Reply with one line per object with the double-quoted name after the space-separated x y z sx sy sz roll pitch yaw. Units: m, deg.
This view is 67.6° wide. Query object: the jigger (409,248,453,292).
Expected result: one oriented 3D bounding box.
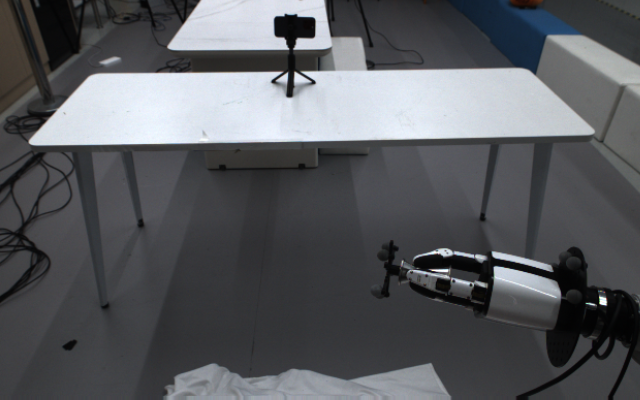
0.155 0.103 0.685 0.071 0.043 0.043 8 35 16 "jigger"
